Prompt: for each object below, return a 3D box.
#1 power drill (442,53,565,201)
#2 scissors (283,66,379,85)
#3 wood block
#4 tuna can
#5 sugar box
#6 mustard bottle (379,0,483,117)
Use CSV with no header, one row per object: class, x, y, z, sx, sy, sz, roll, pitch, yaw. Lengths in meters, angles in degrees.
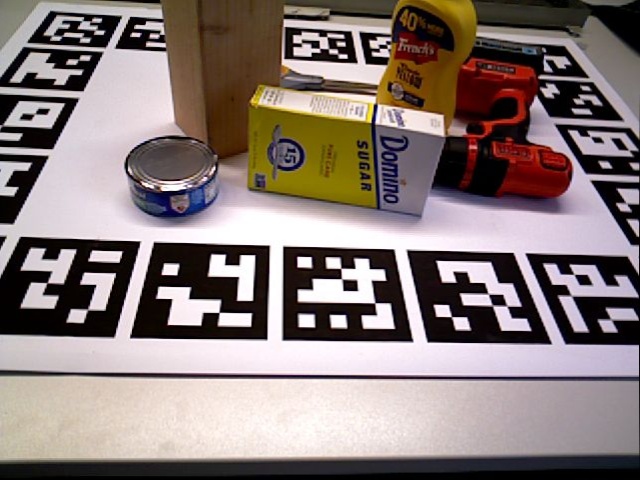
power drill,0.165,-0.127,0.588,0.184,0.058,0.183,11,54,5
scissors,-0.027,-0.201,0.665,0.201,0.016,0.086,4,43,-3
wood block,-0.094,-0.192,0.530,0.089,0.211,0.089,-20,53,-24
tuna can,-0.137,-0.064,0.508,0.085,0.034,0.084,3,47,-4
sugar box,0.029,-0.081,0.508,0.176,0.095,0.044,12,43,2
mustard bottle,0.121,-0.207,0.576,0.057,0.196,0.096,-32,59,-30
